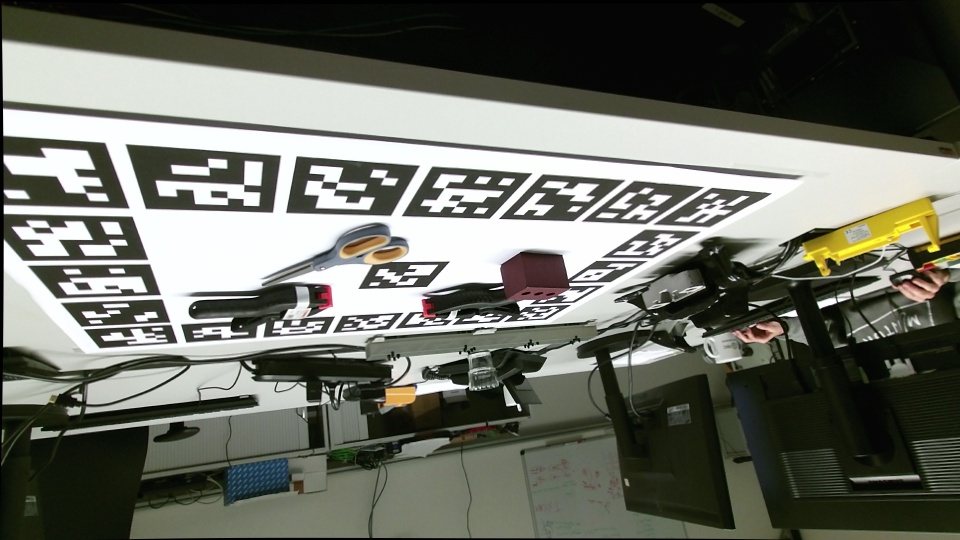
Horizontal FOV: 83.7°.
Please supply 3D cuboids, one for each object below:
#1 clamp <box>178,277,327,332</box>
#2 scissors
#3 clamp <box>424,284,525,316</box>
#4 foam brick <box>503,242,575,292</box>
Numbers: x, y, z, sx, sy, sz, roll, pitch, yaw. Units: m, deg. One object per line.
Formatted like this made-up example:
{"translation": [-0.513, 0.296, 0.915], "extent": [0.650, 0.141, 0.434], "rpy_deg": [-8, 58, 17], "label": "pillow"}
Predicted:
{"translation": [-0.280, 0.042, 0.697], "extent": [0.166, 0.036, 0.122], "rpy_deg": [-12, 152, 0], "label": "clamp"}
{"translation": [-0.166, -0.020, 0.606], "extent": [0.203, 0.016, 0.088], "rpy_deg": [-18, 150, 22], "label": "scissors"}
{"translation": [0.011, 0.046, 0.847], "extent": [0.204, 0.036, 0.165], "rpy_deg": [-1, 160, -22], "label": "clamp"}
{"translation": [0.083, -0.004, 0.741], "extent": [0.078, 0.051, 0.053], "rpy_deg": [-2, 156, -35], "label": "foam brick"}
